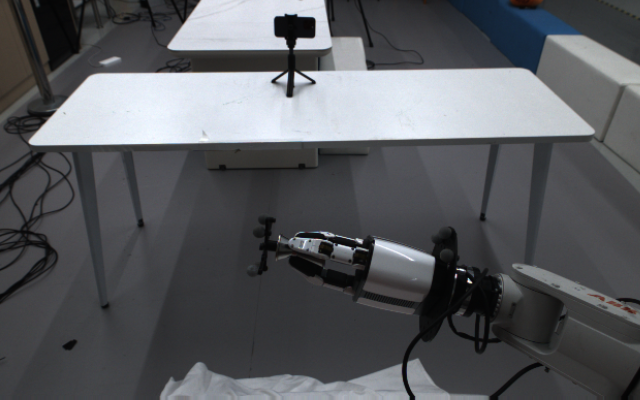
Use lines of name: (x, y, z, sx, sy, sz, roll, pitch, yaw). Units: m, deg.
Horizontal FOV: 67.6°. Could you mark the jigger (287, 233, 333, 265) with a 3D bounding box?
jigger: (-0.018, 0.067, 0.670, 0.071, 0.043, 0.043, 8, 35, 2)
